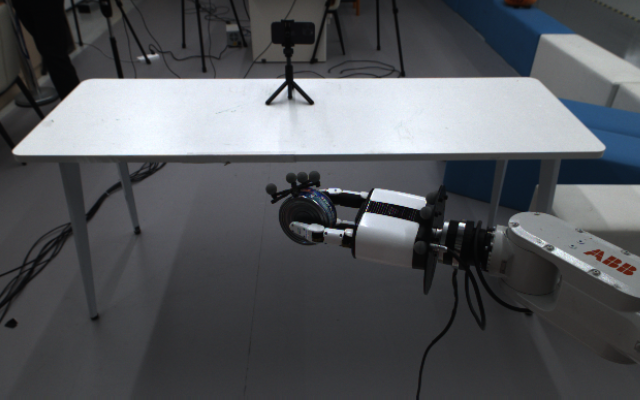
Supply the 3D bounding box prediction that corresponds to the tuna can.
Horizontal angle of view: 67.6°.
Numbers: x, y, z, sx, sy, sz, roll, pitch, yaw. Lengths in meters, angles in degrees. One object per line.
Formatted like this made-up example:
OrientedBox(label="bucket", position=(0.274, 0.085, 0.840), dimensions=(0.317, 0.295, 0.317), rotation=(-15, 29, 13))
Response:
OrientedBox(label="tuna can", position=(-0.016, 0.032, 0.739), dimensions=(0.085, 0.085, 0.034), rotation=(15, 29, 17))
